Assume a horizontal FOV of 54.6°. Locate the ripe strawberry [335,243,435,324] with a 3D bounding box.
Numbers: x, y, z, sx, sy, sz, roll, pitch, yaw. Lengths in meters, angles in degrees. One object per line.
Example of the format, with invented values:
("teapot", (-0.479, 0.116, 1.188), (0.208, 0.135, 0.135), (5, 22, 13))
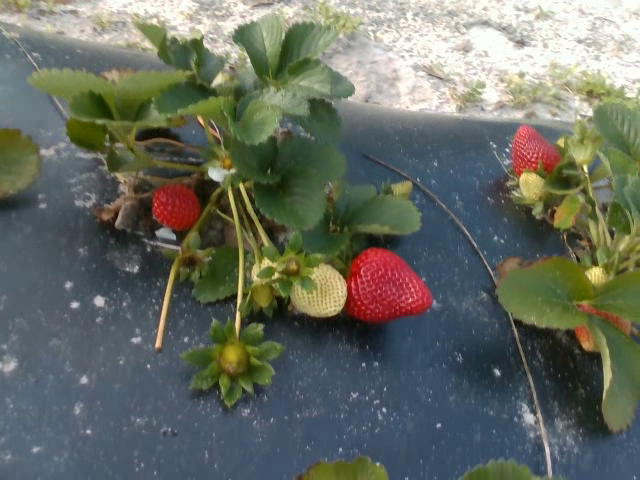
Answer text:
("ripe strawberry", (0.043, 0.032, 0.369), (0.055, 0.051, 0.048), (24, -9, 44))
